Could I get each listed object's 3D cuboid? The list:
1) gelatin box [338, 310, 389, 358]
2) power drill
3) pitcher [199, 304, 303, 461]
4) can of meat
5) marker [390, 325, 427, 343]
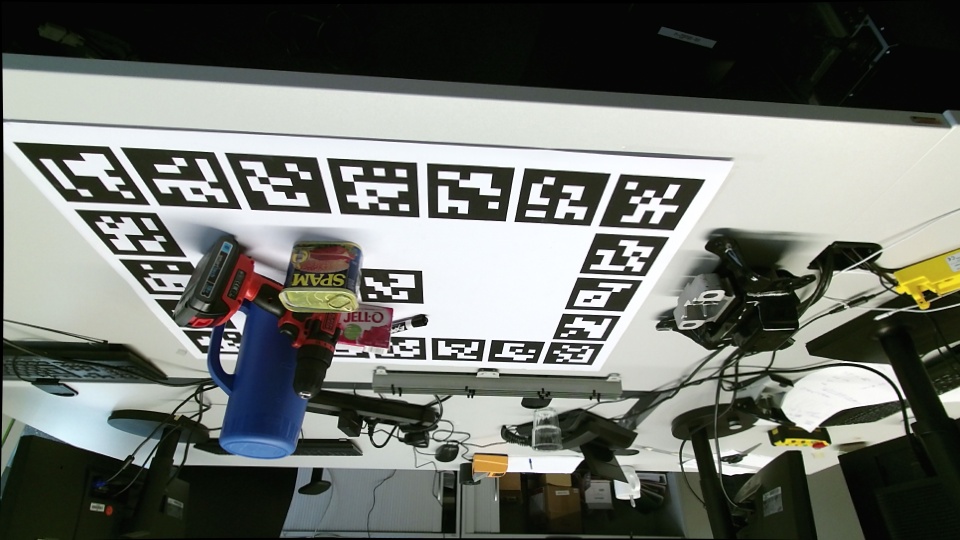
[{"bbox_3d":[-0.201,0.104,0.891,0.090,0.073,0.030,10,139,-11],"label":"gelatin box"},{"bbox_3d":[-0.291,0.086,0.774,0.188,0.183,0.057,30,132,-26],"label":"power drill"},{"bbox_3d":[-0.346,0.163,0.841,0.189,0.241,0.133,18,137,-33],"label":"pitcher"},{"bbox_3d":[-0.219,0.013,0.752,0.102,0.083,0.058,2,146,-2],"label":"can of meat"},{"bbox_3d":[-0.150,0.119,0.952,0.121,0.019,0.020,-15,141,18],"label":"marker"}]
